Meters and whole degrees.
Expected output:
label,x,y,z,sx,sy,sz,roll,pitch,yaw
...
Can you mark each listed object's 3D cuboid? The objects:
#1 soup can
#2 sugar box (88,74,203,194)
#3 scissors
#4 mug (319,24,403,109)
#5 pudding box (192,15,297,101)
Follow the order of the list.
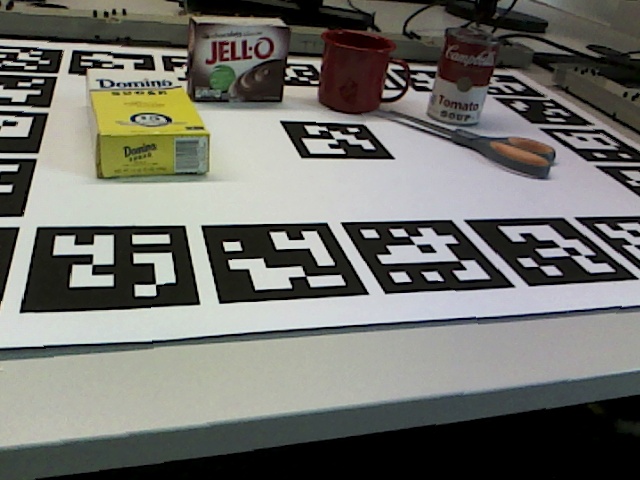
label,x,y,z,sx,sy,sz,roll,pitch,yaw
soup can,0.172,-0.195,0.771,0.068,0.102,0.068,6,33,-4
sugar box,-0.175,-0.111,0.605,0.092,0.045,0.177,-6,38,-18
scissors,0.171,-0.112,0.708,0.204,0.016,0.087,26,47,22
mug,0.051,-0.212,0.771,0.118,0.081,0.093,28,40,28
pudding box,-0.090,-0.212,0.723,0.113,0.090,0.039,-8,44,-25
